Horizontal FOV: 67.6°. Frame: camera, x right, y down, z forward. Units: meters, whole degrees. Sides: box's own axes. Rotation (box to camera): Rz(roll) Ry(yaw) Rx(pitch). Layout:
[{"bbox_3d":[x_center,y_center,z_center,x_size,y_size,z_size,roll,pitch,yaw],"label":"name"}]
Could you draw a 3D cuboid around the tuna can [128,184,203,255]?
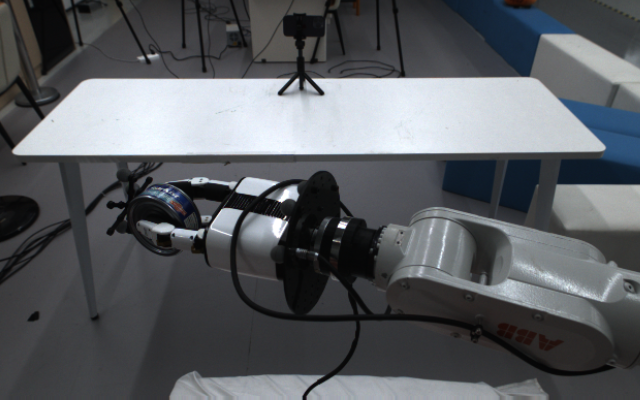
[{"bbox_3d":[-0.186,0.027,0.583,0.085,0.085,0.034,12,31,14],"label":"tuna can"}]
